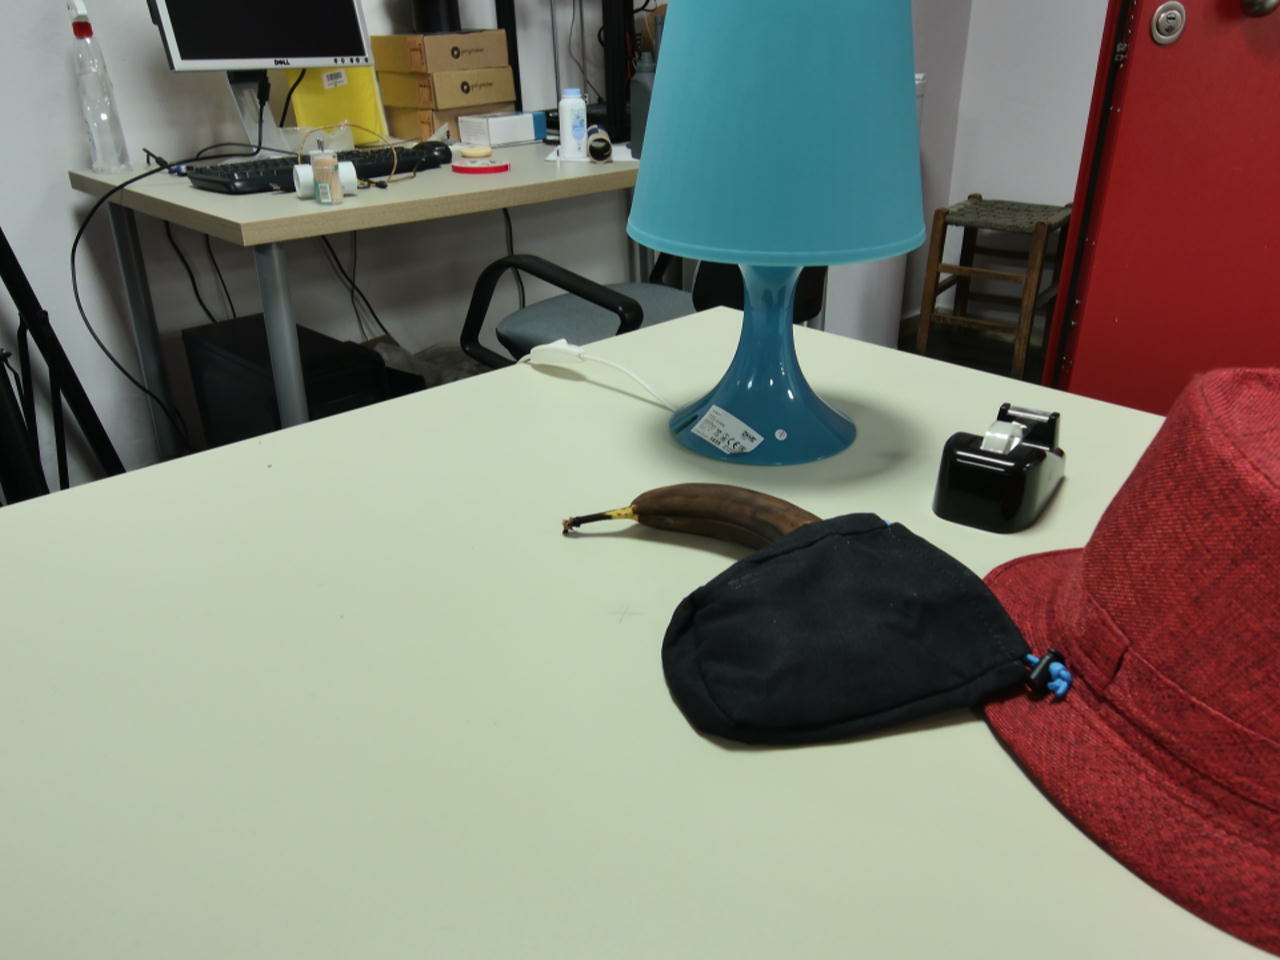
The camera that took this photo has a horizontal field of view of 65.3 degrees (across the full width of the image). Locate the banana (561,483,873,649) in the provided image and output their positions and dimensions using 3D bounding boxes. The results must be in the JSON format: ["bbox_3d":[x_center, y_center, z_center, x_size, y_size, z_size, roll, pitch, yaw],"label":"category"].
[{"bbox_3d":[0.052,0.032,0.532,0.091,0.034,0.188,-18,30,-36],"label":"banana"}]
